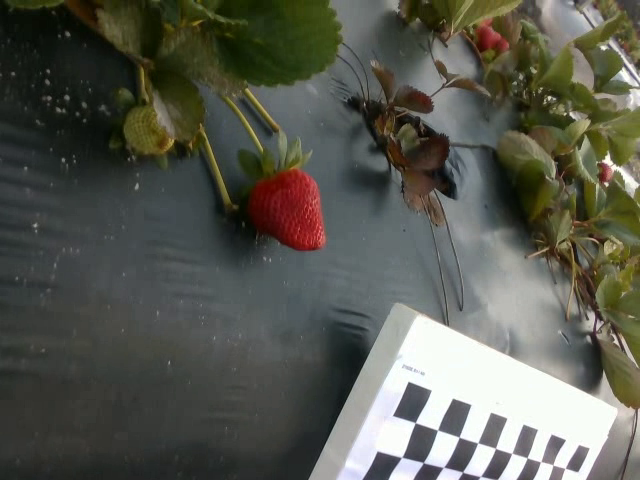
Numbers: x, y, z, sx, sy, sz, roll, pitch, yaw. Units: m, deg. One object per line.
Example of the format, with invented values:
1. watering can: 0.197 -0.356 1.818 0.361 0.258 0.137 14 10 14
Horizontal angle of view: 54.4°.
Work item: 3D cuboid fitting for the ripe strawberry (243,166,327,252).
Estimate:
1. ripe strawberry: -0.014 -0.013 0.323 0.046 0.054 0.042 -27 -35 -20
